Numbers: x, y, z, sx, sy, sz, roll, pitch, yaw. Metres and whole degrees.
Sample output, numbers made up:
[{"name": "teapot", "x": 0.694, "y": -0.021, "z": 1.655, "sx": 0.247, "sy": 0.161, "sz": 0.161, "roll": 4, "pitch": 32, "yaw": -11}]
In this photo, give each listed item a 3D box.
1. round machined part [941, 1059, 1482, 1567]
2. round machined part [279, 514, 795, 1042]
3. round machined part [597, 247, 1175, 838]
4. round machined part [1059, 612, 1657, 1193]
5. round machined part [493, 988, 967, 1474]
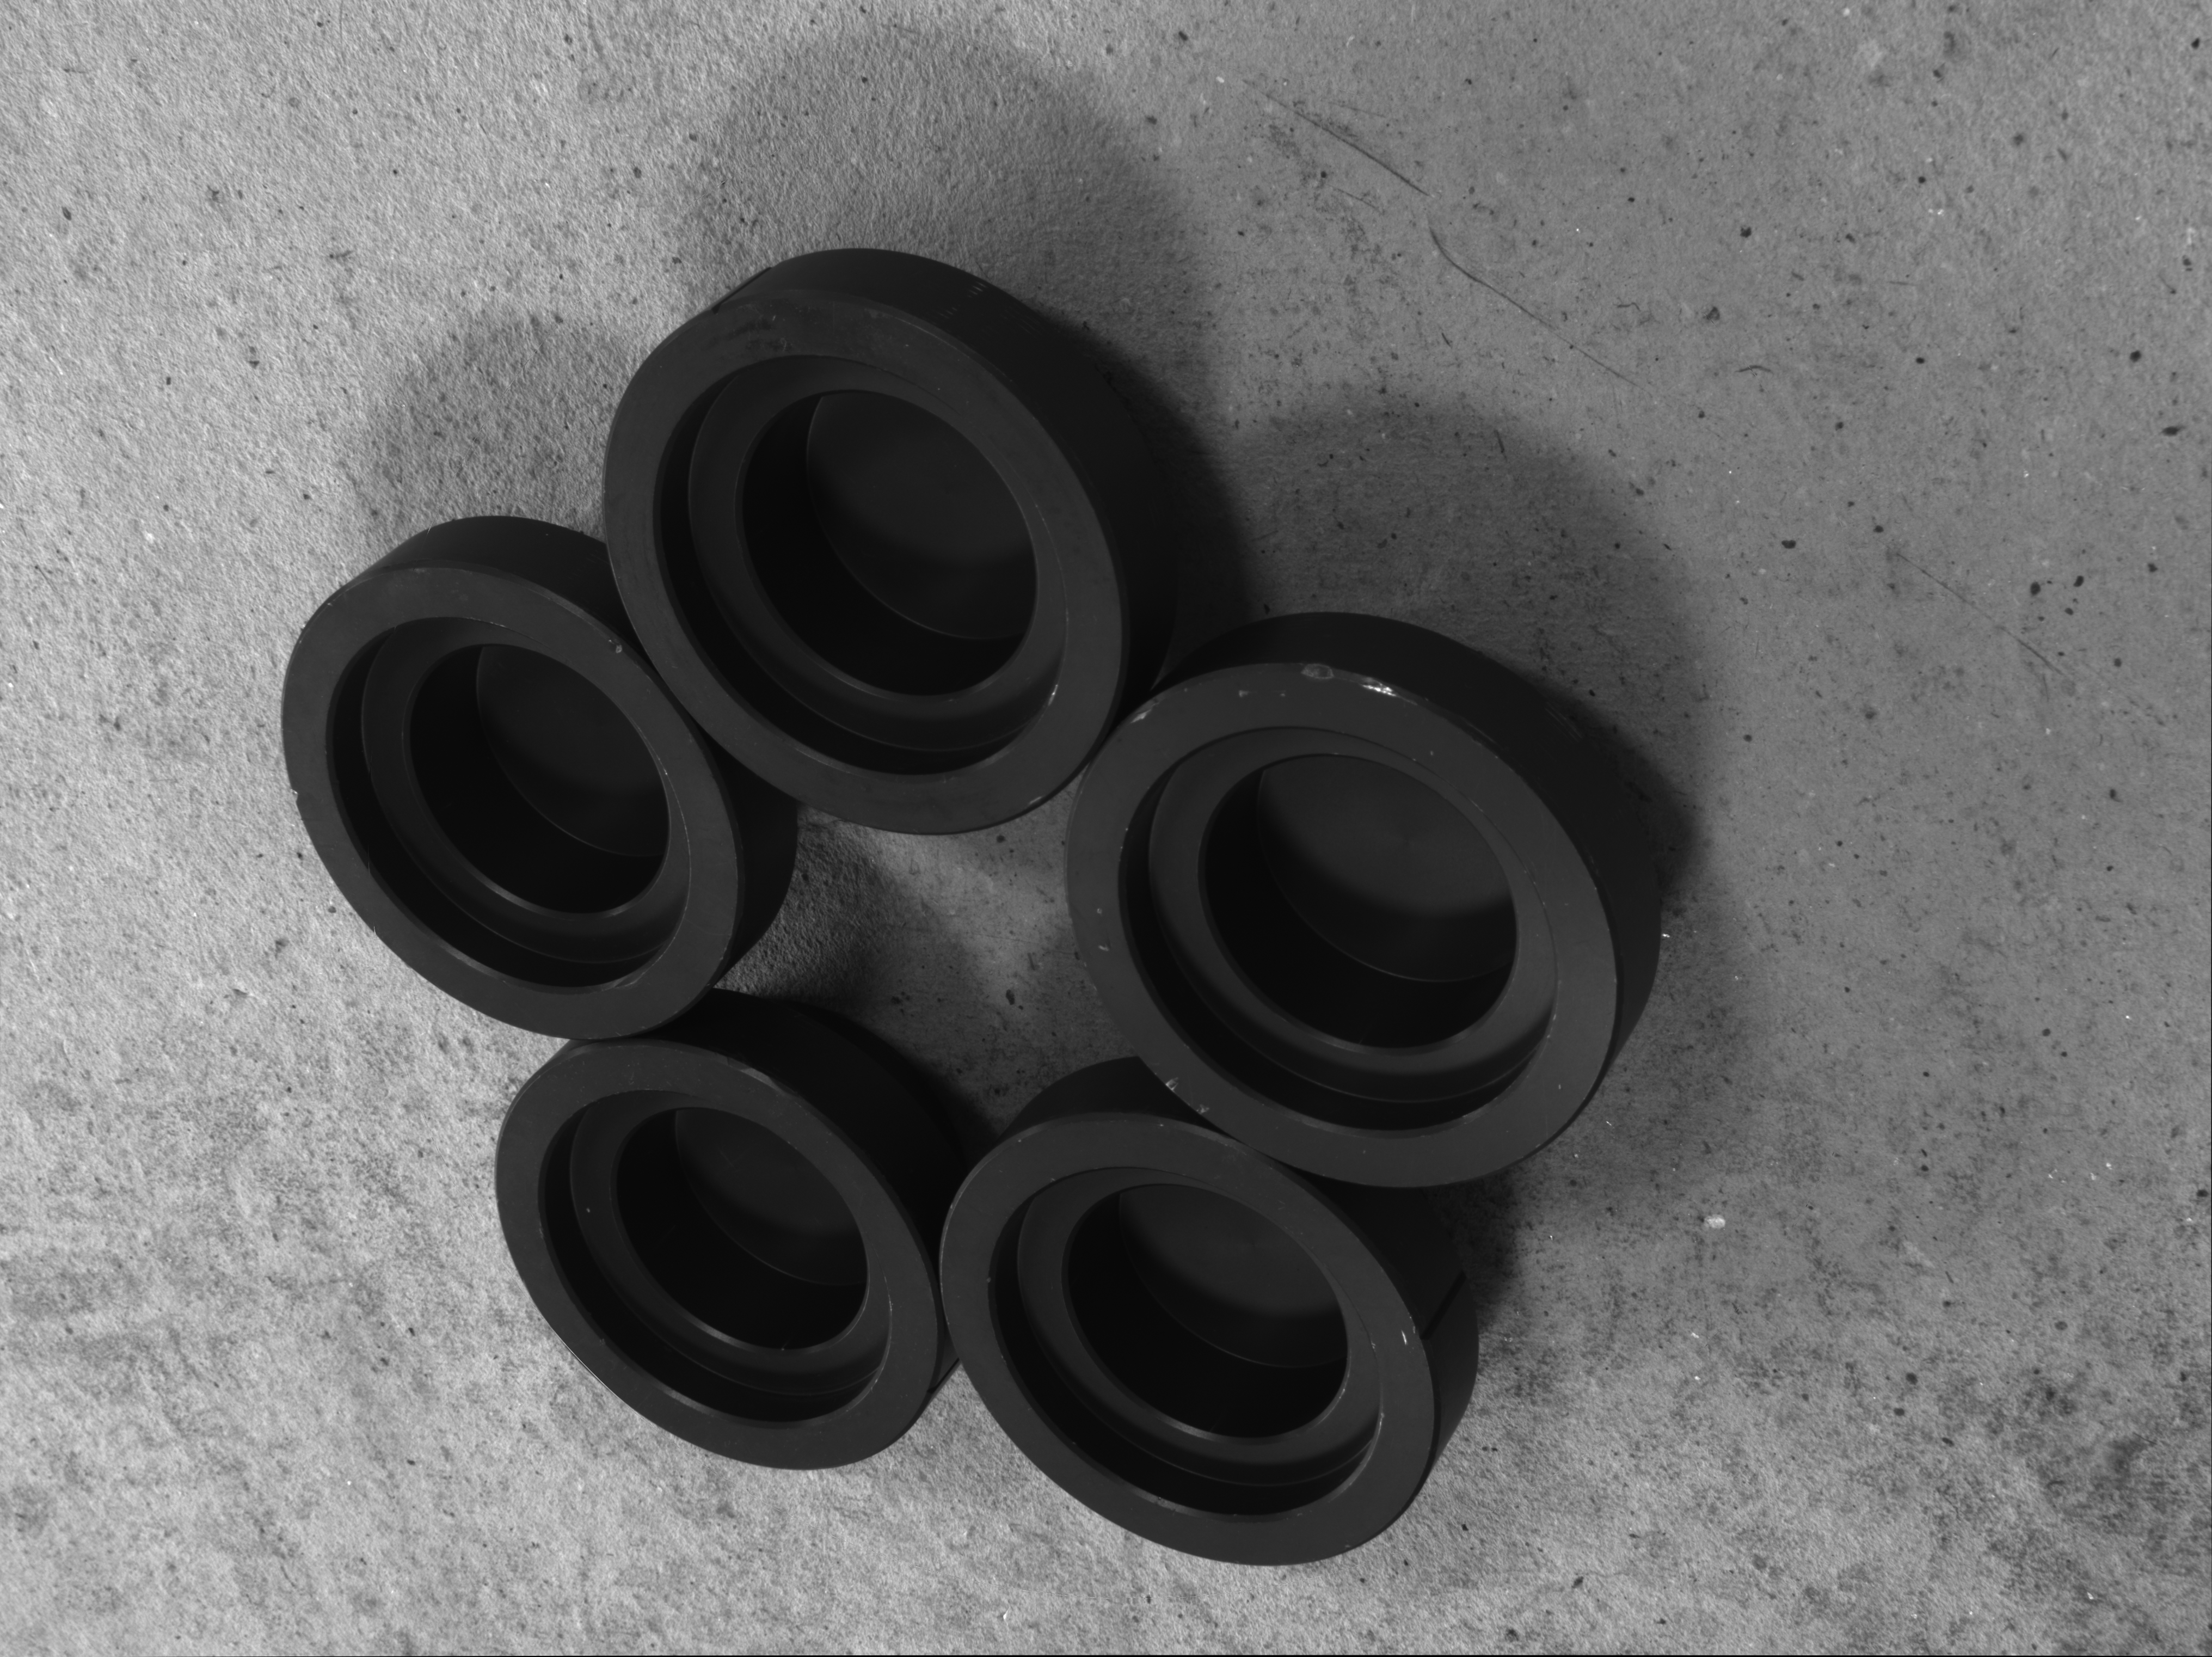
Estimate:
[{"name": "round machined part", "x": 0.023, "y": 0.083, "z": 0.670, "sx": 0.098, "sy": 0.042, "sz": 0.098, "roll": 12, "pitch": 123, "yaw": 20}, {"name": "round machined part", "x": -0.100, "y": -0.013, "z": 0.677, "sx": 0.098, "sy": 0.042, "sz": 0.098, "roll": 13, "pitch": 122, "yaw": 21}, {"name": "round machined part", "x": -0.033, "y": -0.051, "z": 0.617, "sx": 0.098, "sy": 0.042, "sz": 0.098, "roll": 12, "pitch": 122, "yaw": 21}, {"name": "round machined part", "x": 0.045, "y": 0.008, "z": 0.611, "sx": 0.098, "sy": 0.042, "sz": 0.098, "roll": 12, "pitch": 122, "yaw": 21}, {"name": "round machined part", "x": -0.066, "y": 0.073, "z": 0.711, "sx": 0.098, "sy": 0.042, "sz": 0.098, "roll": 12, "pitch": 122, "yaw": 21}]
